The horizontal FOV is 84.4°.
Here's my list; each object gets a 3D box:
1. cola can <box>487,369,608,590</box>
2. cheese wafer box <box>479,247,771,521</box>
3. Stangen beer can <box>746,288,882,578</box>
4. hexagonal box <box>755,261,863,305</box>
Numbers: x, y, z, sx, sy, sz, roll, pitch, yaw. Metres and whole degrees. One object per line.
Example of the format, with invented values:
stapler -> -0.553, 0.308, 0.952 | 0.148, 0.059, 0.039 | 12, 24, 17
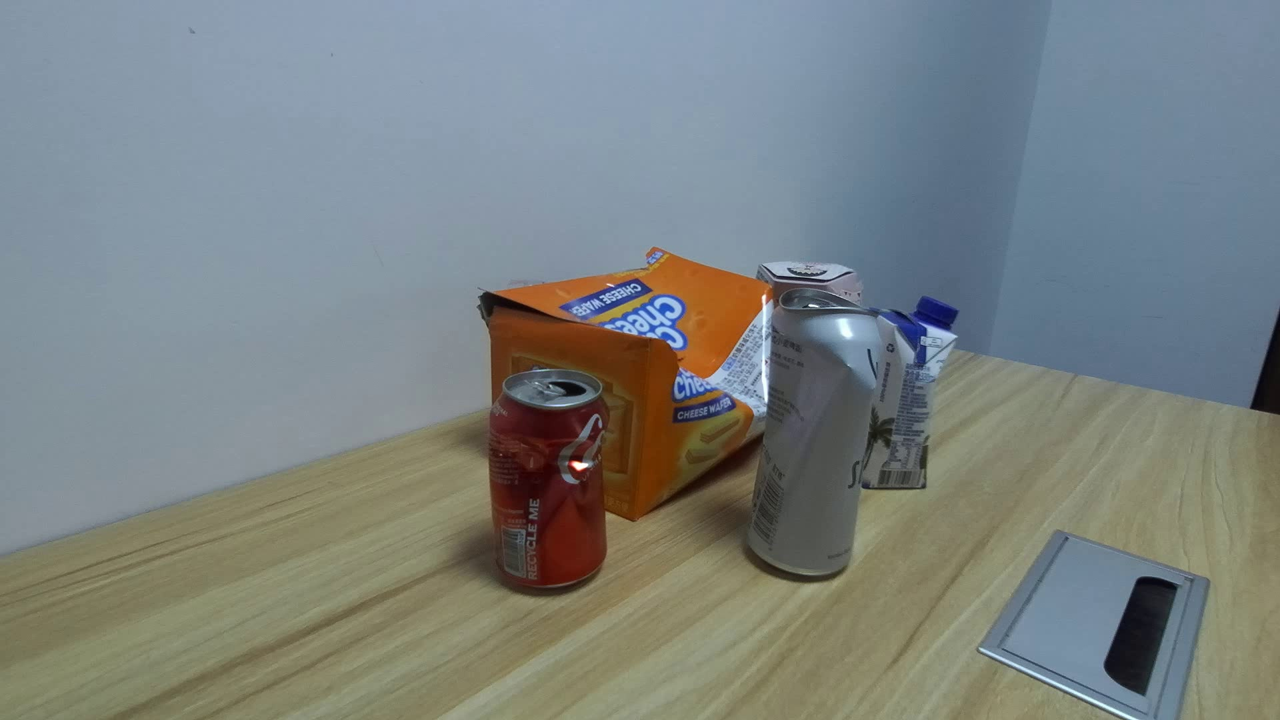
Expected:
cola can -> -0.050, 0.066, 0.401 | 0.066, 0.117, 0.066 | 1, 19, -1
cheese wafer box -> 0.017, 0.004, 0.563 | 0.190, 0.145, 0.220 | 13, 21, 34
Stangen beer can -> 0.101, 0.044, 0.414 | 0.077, 0.162, 0.066 | 13, 21, 31
hexagonal box -> 0.155, -0.021, 0.672 | 0.090, 0.134, 0.091 | -12, 24, -27
